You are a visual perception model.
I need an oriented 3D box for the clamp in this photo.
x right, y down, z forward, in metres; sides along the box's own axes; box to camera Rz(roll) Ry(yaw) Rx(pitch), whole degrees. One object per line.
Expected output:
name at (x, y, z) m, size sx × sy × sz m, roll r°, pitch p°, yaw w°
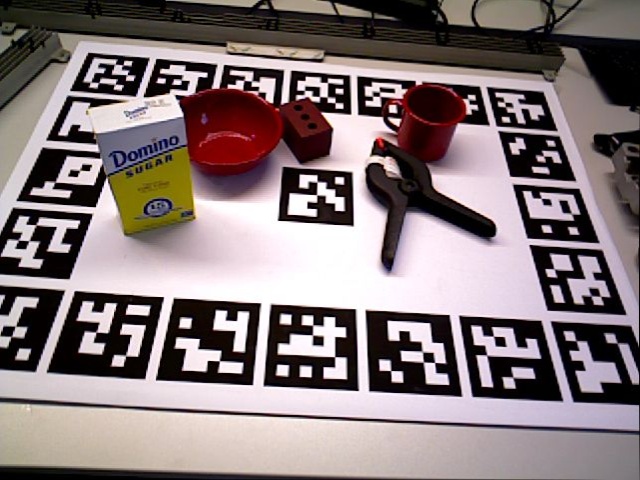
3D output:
clamp at (0.114, -0.065, 0.727) m, size 0.163 × 0.037 × 0.201 m, roll -18°, pitch 60°, yaw -15°

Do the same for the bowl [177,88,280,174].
bowl at (-0.137, -0.143, 0.750) m, size 0.160 × 0.056 × 0.159 m, roll 3°, pitch 55°, yaw -5°

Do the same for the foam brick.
foam brick at (-0.023, -0.153, 0.779) m, size 0.052 × 0.052 × 0.077 m, roll -21°, pitch 61°, yaw -19°

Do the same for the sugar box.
sugar box at (-0.203, -0.076, 0.620) m, size 0.091 × 0.180 × 0.045 m, roll -17°, pitch 60°, yaw -20°

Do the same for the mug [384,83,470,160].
mug at (0.147, -0.177, 0.786) m, size 0.117 × 0.083 × 0.091 m, roll 26°, pitch 56°, yaw 8°
